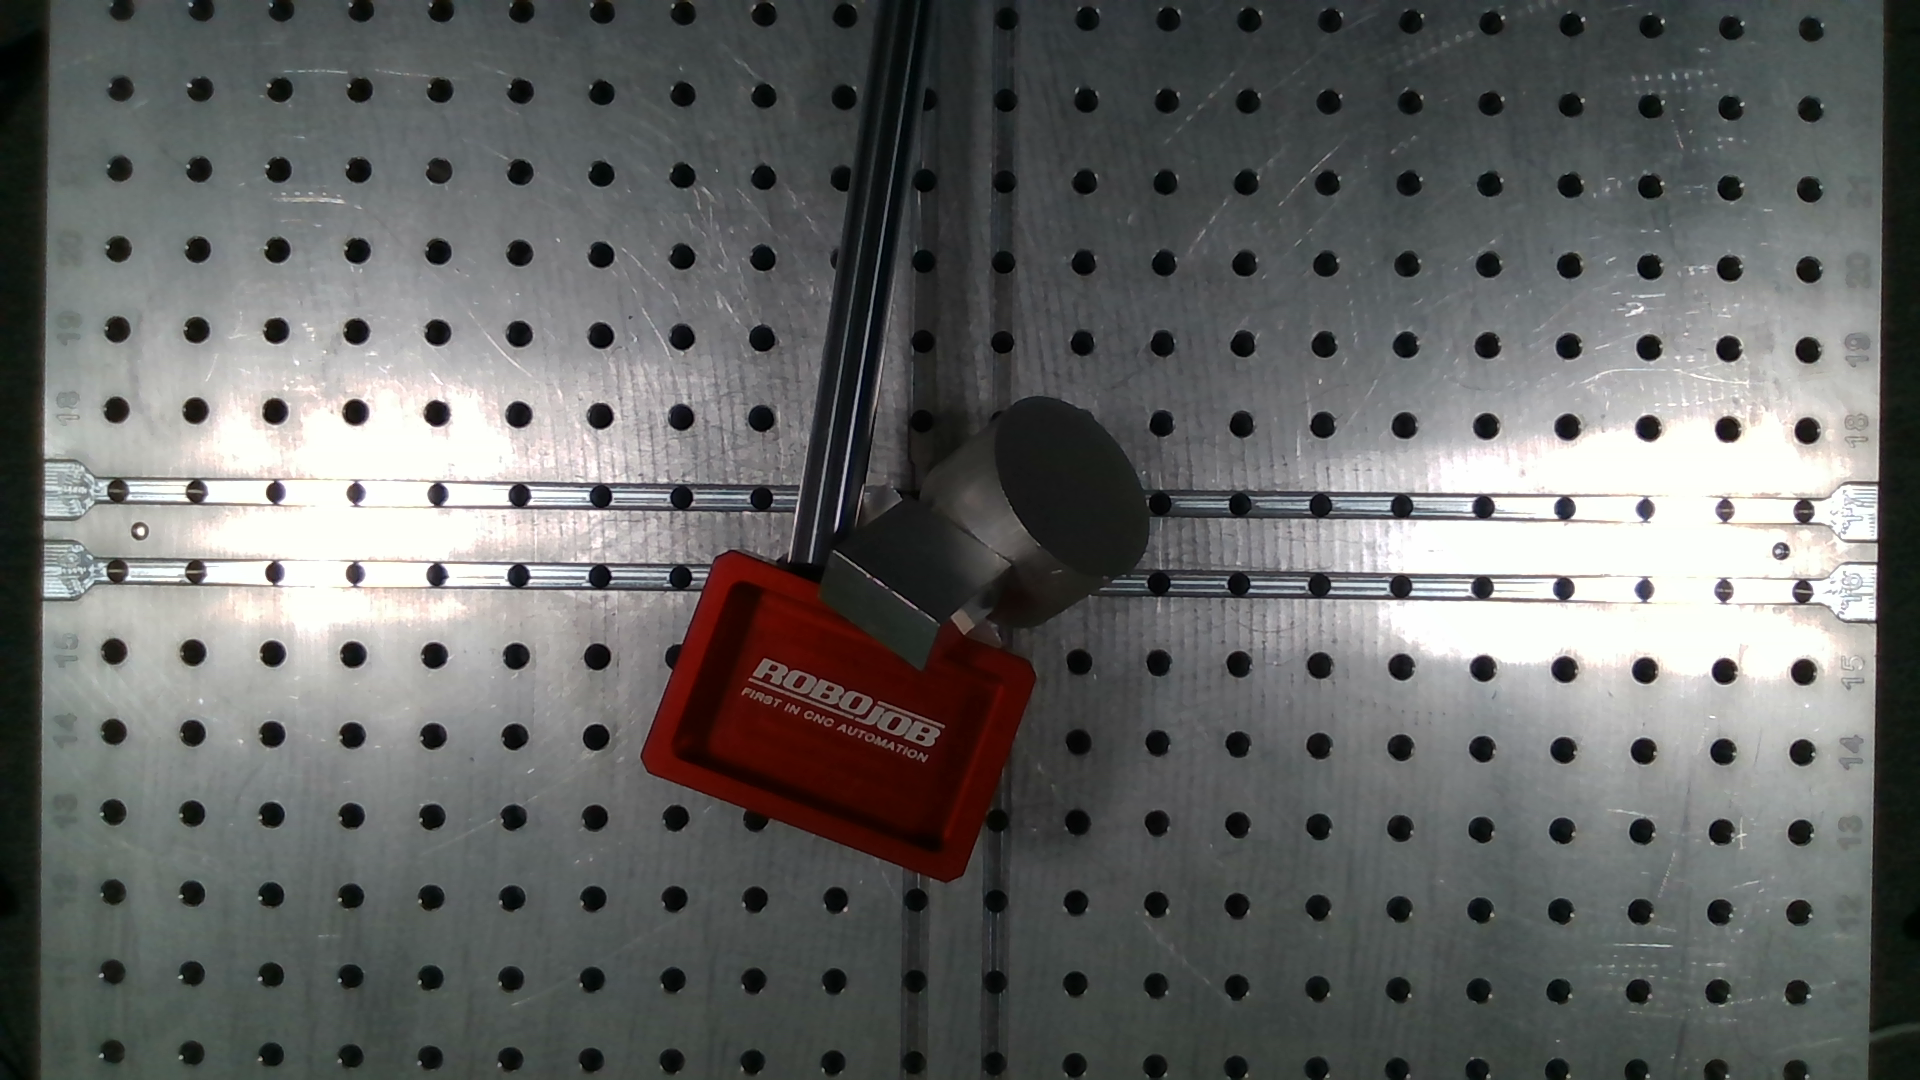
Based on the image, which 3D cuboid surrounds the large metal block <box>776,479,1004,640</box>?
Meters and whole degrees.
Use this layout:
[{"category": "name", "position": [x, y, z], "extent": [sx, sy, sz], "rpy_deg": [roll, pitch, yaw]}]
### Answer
[{"category": "large metal block", "position": [-0.038, 0.031, 0.576], "extent": [0.080, 0.050, 0.080], "rpy_deg": [-35, 90, 0]}]

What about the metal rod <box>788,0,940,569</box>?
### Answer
[{"category": "metal rod", "position": [-0.034, -0.135, 0.559], "extent": [0.025, 0.025, 0.300], "rpy_deg": [8, 79, 0]}]

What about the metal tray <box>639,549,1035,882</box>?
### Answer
[{"category": "metal tray", "position": [-0.046, 0.067, 0.534], "extent": [0.130, 0.030, 0.090], "rpy_deg": [20, 90, 0]}]

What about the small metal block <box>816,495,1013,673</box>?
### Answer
[{"category": "small metal block", "position": [-0.017, 0.015, 0.517], "extent": [0.050, 0.050, 0.025], "rpy_deg": [34, 130, 16]}]

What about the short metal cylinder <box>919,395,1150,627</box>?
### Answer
[{"category": "short metal cylinder", "position": [0.030, -0.011, 0.556], "extent": [0.050, 0.080, 0.080], "rpy_deg": [-35, 90, 43]}]
